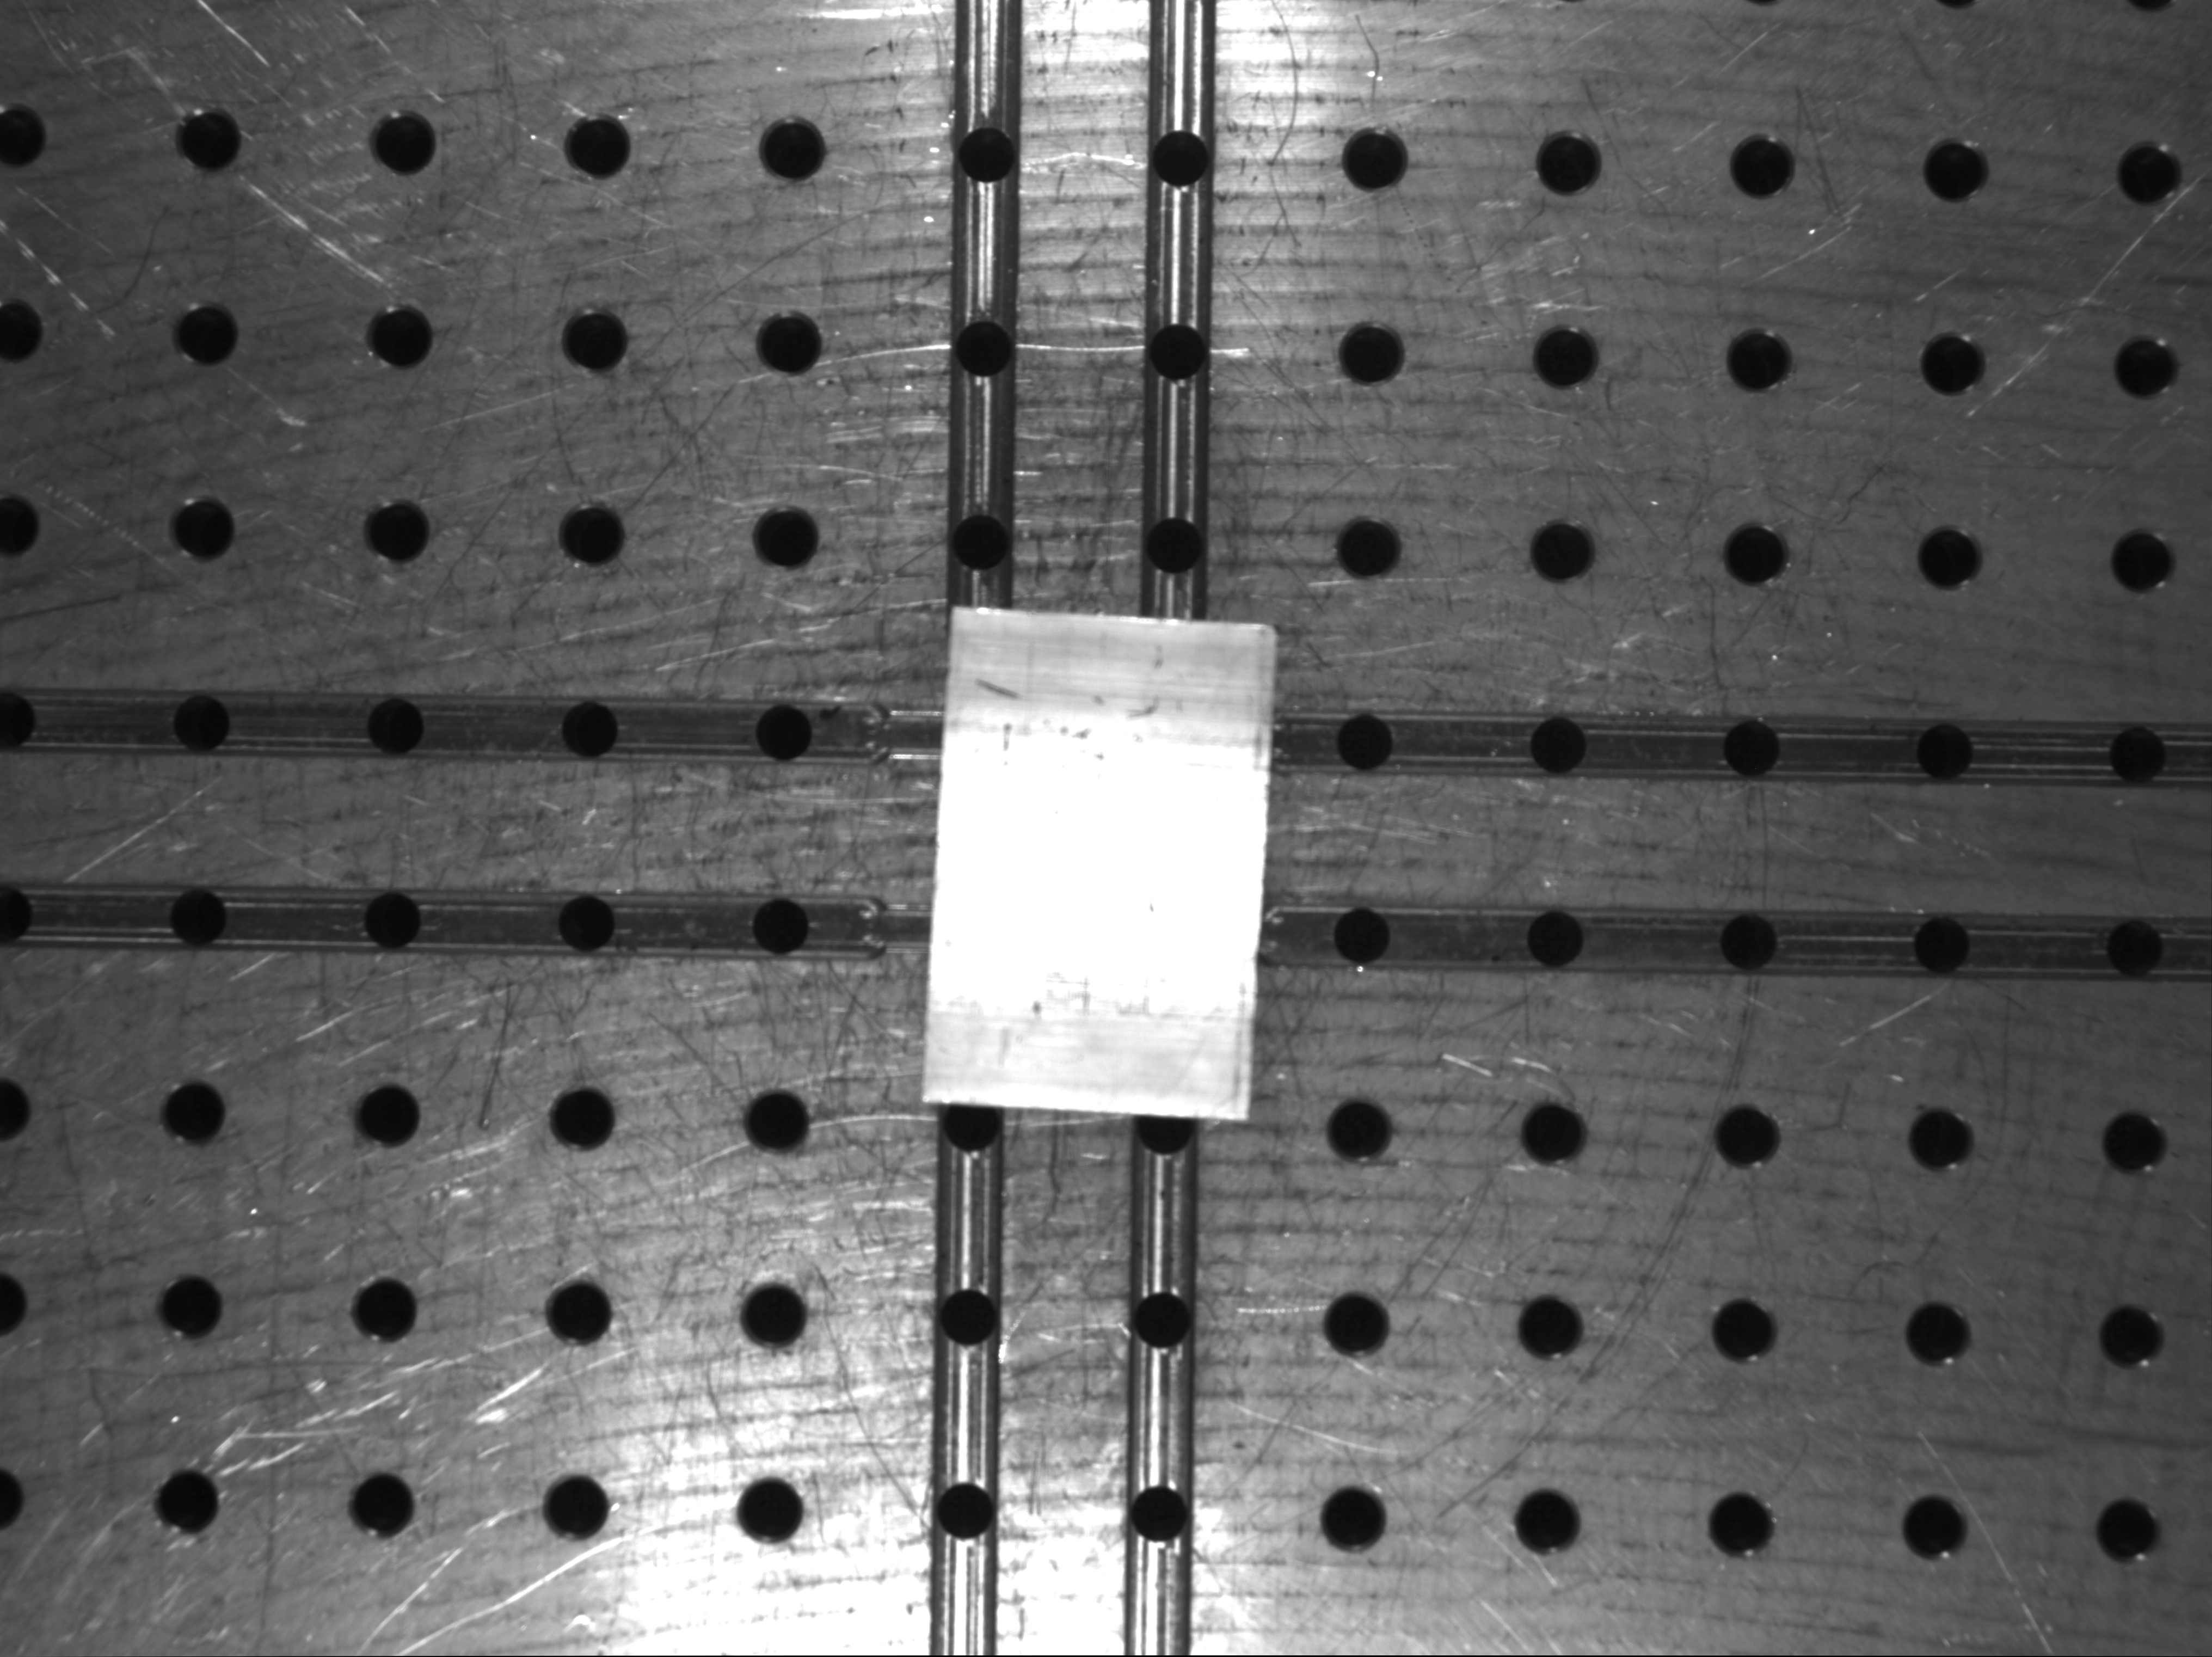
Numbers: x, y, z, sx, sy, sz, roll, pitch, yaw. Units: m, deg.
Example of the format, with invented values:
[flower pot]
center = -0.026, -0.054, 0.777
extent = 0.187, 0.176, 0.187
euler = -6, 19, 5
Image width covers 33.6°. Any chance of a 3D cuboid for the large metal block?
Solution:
[large metal block]
center = -0.002, 0.006, 0.619
extent = 0.050, 0.080, 0.080
euler = 3, 90, 0
